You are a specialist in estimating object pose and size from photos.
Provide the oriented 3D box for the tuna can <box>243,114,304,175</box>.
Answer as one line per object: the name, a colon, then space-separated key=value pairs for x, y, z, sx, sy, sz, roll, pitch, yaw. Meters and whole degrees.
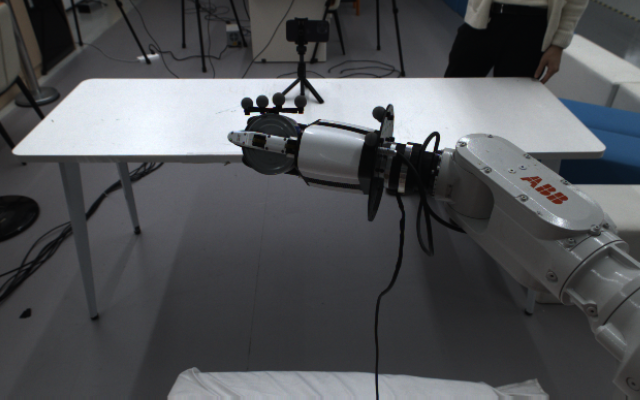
tuna can: x=-0.065 y=-0.078 z=0.686 sx=0.085 sy=0.085 sz=0.034 roll=12 pitch=8 yaw=14
